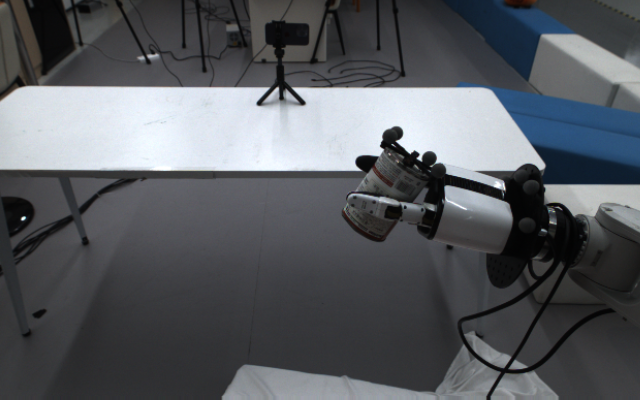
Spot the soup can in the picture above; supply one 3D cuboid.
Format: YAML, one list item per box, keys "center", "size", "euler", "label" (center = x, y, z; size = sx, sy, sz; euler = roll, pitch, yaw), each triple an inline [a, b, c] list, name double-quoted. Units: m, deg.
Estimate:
- center: [0.083, -0.008, 0.606]
  size: [0.067, 0.101, 0.067]
  euler: [28, 22, -12]
  label: "soup can"
